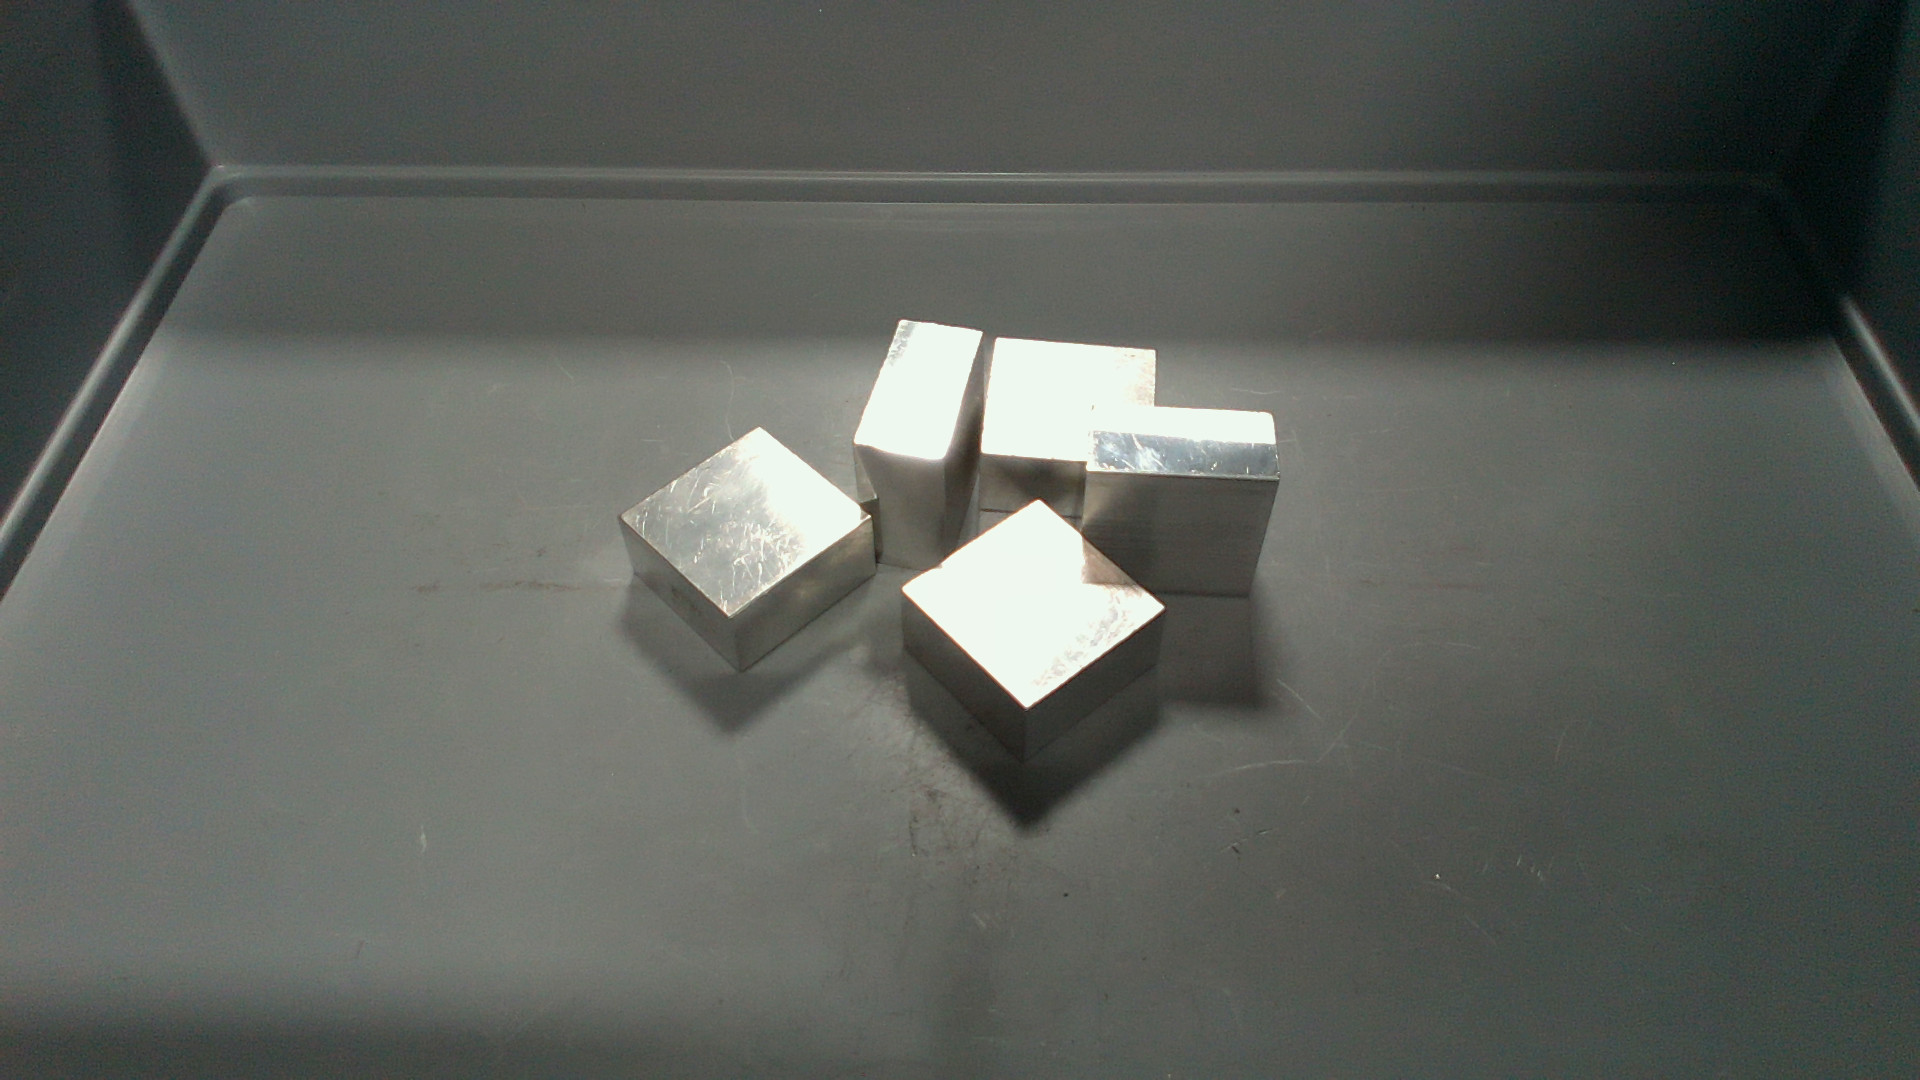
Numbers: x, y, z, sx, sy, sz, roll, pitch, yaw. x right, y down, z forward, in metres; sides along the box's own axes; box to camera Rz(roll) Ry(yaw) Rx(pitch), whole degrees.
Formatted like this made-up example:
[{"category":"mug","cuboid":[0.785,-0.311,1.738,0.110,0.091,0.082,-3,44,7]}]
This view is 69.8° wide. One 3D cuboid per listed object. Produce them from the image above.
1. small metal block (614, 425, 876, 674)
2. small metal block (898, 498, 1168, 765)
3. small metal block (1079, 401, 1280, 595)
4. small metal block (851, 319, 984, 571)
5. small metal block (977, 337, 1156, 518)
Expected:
[{"category":"small metal block","cuboid":[-0.060,0.001,0.389,0.050,0.025,0.050,-37,59,-27]},{"category":"small metal block","cuboid":[0.019,0.023,0.369,0.050,0.025,0.050,-33,57,-25]},{"category":"small metal block","cuboid":[0.058,-0.011,0.382,0.050,0.050,0.025,2,50,2]},{"category":"small metal block","cuboid":[-0.011,-0.027,0.395,0.025,0.050,0.050,10,51,8]},{"category":"small metal block","cuboid":[0.033,-0.034,0.418,0.050,0.025,0.050,5,50,4]}]
